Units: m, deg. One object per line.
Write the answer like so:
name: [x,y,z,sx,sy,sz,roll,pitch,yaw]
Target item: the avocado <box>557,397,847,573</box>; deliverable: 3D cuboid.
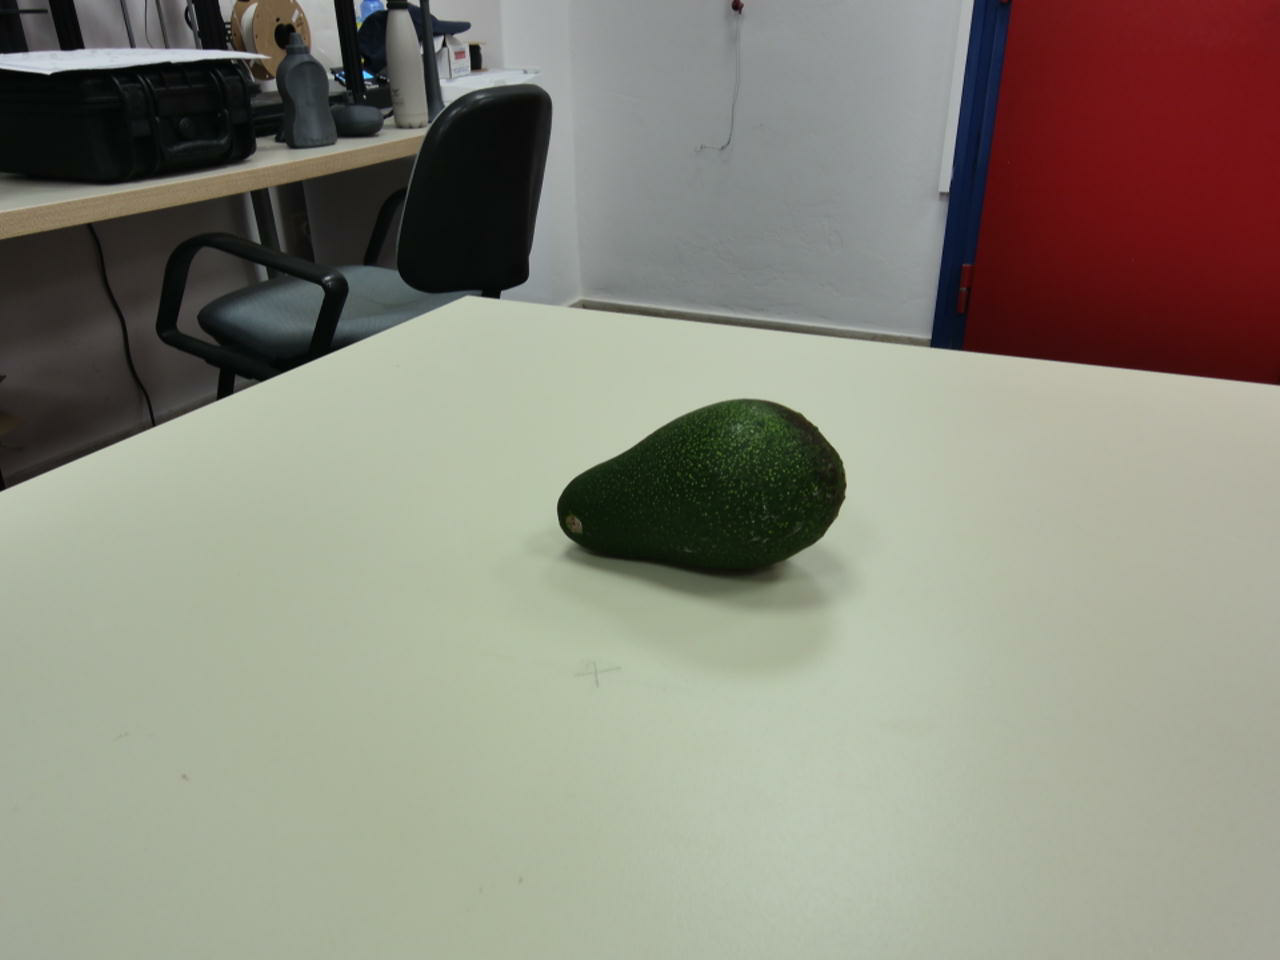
avocado: [0.030,-0.001,0.438,0.123,0.076,0.074,14,27,29]
